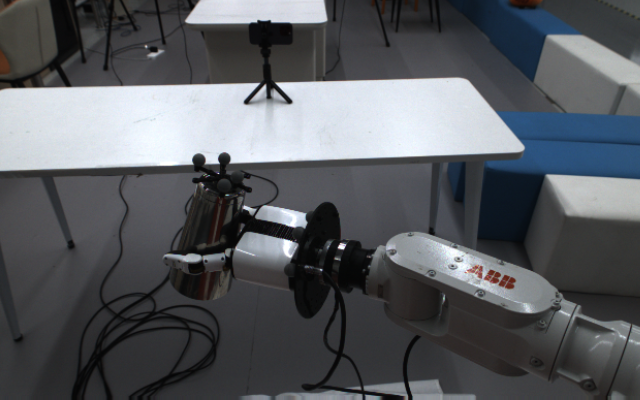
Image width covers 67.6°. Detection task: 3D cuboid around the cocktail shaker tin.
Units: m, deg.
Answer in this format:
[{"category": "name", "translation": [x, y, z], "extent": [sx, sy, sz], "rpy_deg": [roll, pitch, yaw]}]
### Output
[{"category": "cocktail shaker tin", "translation": [-0.156, 0.047, 0.694], "extent": [0.093, 0.170, 0.093], "rpy_deg": [15, 27, -8]}]
